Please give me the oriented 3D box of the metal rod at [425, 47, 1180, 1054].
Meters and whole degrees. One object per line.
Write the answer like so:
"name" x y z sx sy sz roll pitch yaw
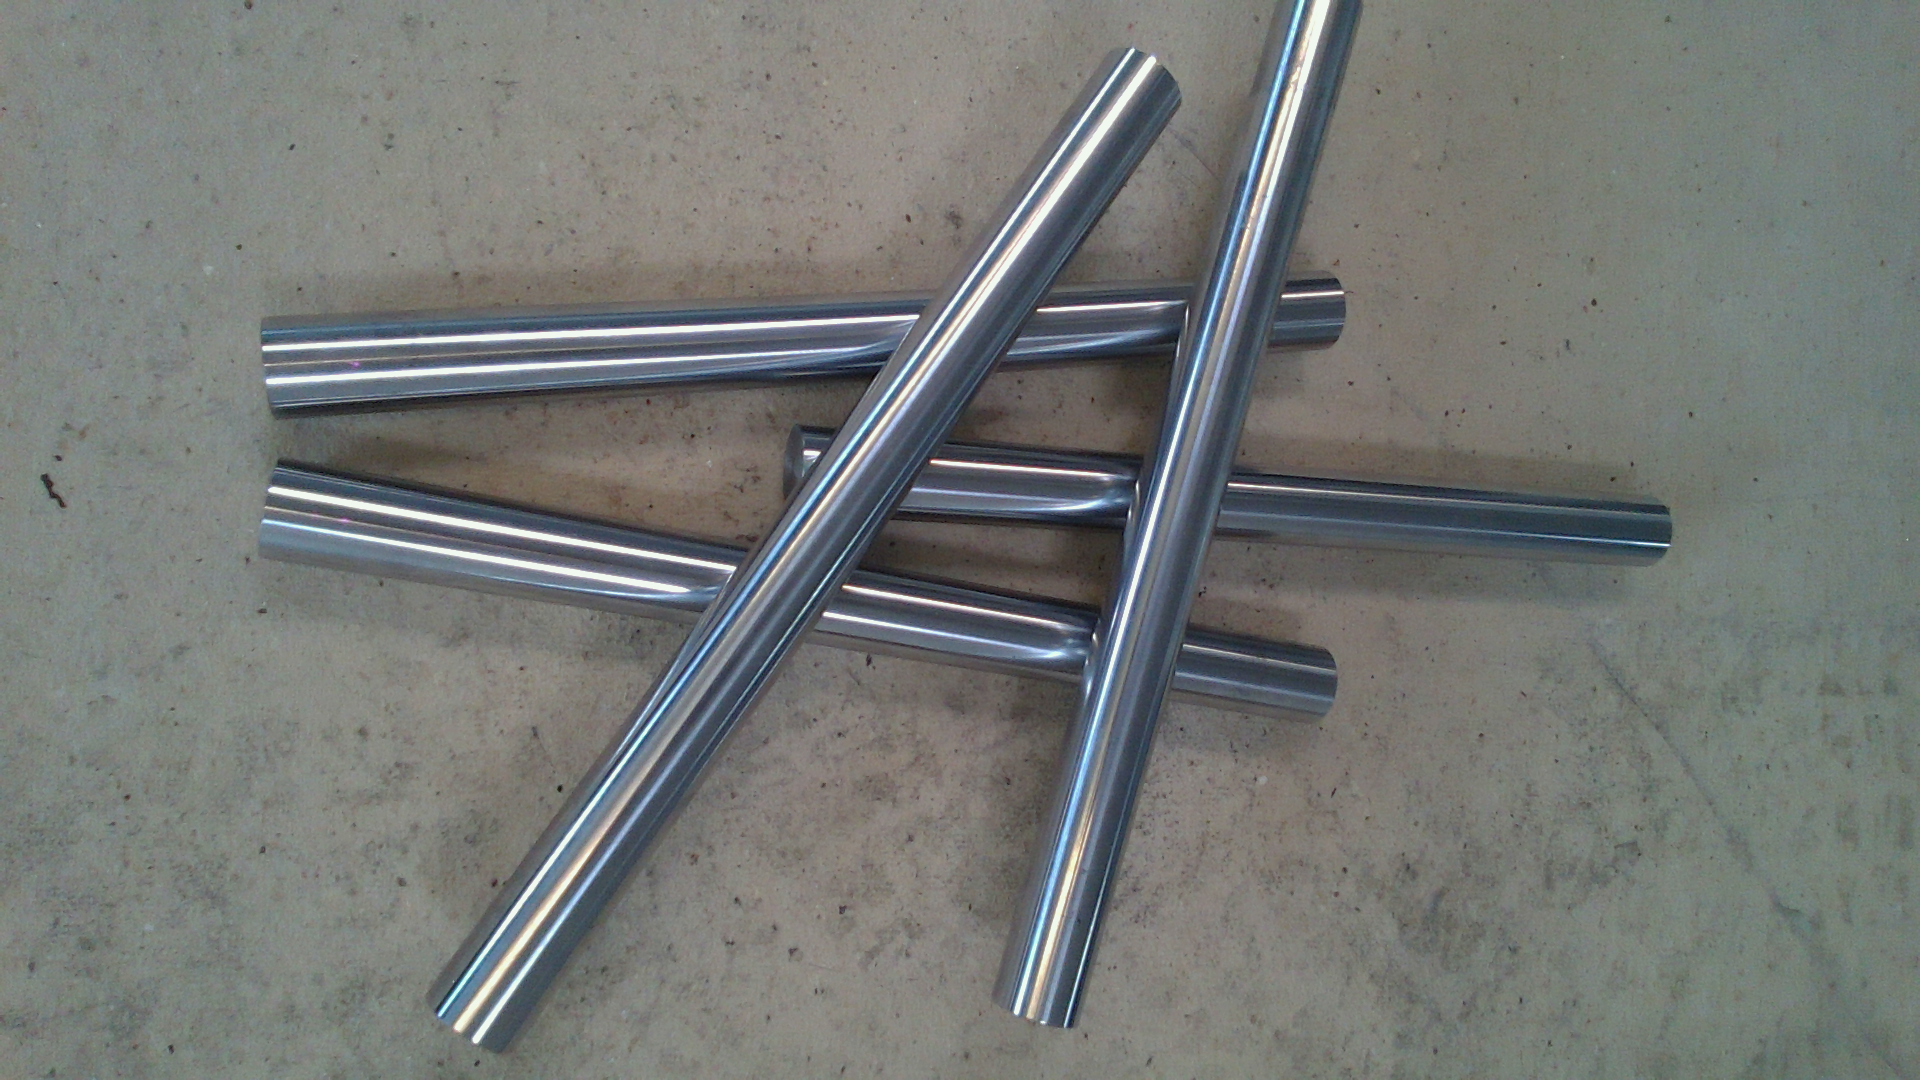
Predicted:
"metal rod" -0.032 -0.007 0.355 0.025 0.025 0.300 38 78 -16

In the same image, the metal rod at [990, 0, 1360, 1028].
"metal rod" 0.063 -0.015 0.390 0.025 0.025 0.300 19 84 -19

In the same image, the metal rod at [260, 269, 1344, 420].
"metal rod" -0.027 -0.057 0.384 0.301 0.025 0.025 -6 92 -20

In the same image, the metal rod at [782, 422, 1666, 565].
"metal rod" 0.095 -0.012 0.428 0.301 0.025 0.025 3 89 -20

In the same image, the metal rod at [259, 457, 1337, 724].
"metal rod" -0.028 0.019 0.383 0.301 0.025 0.025 11 86 -20
